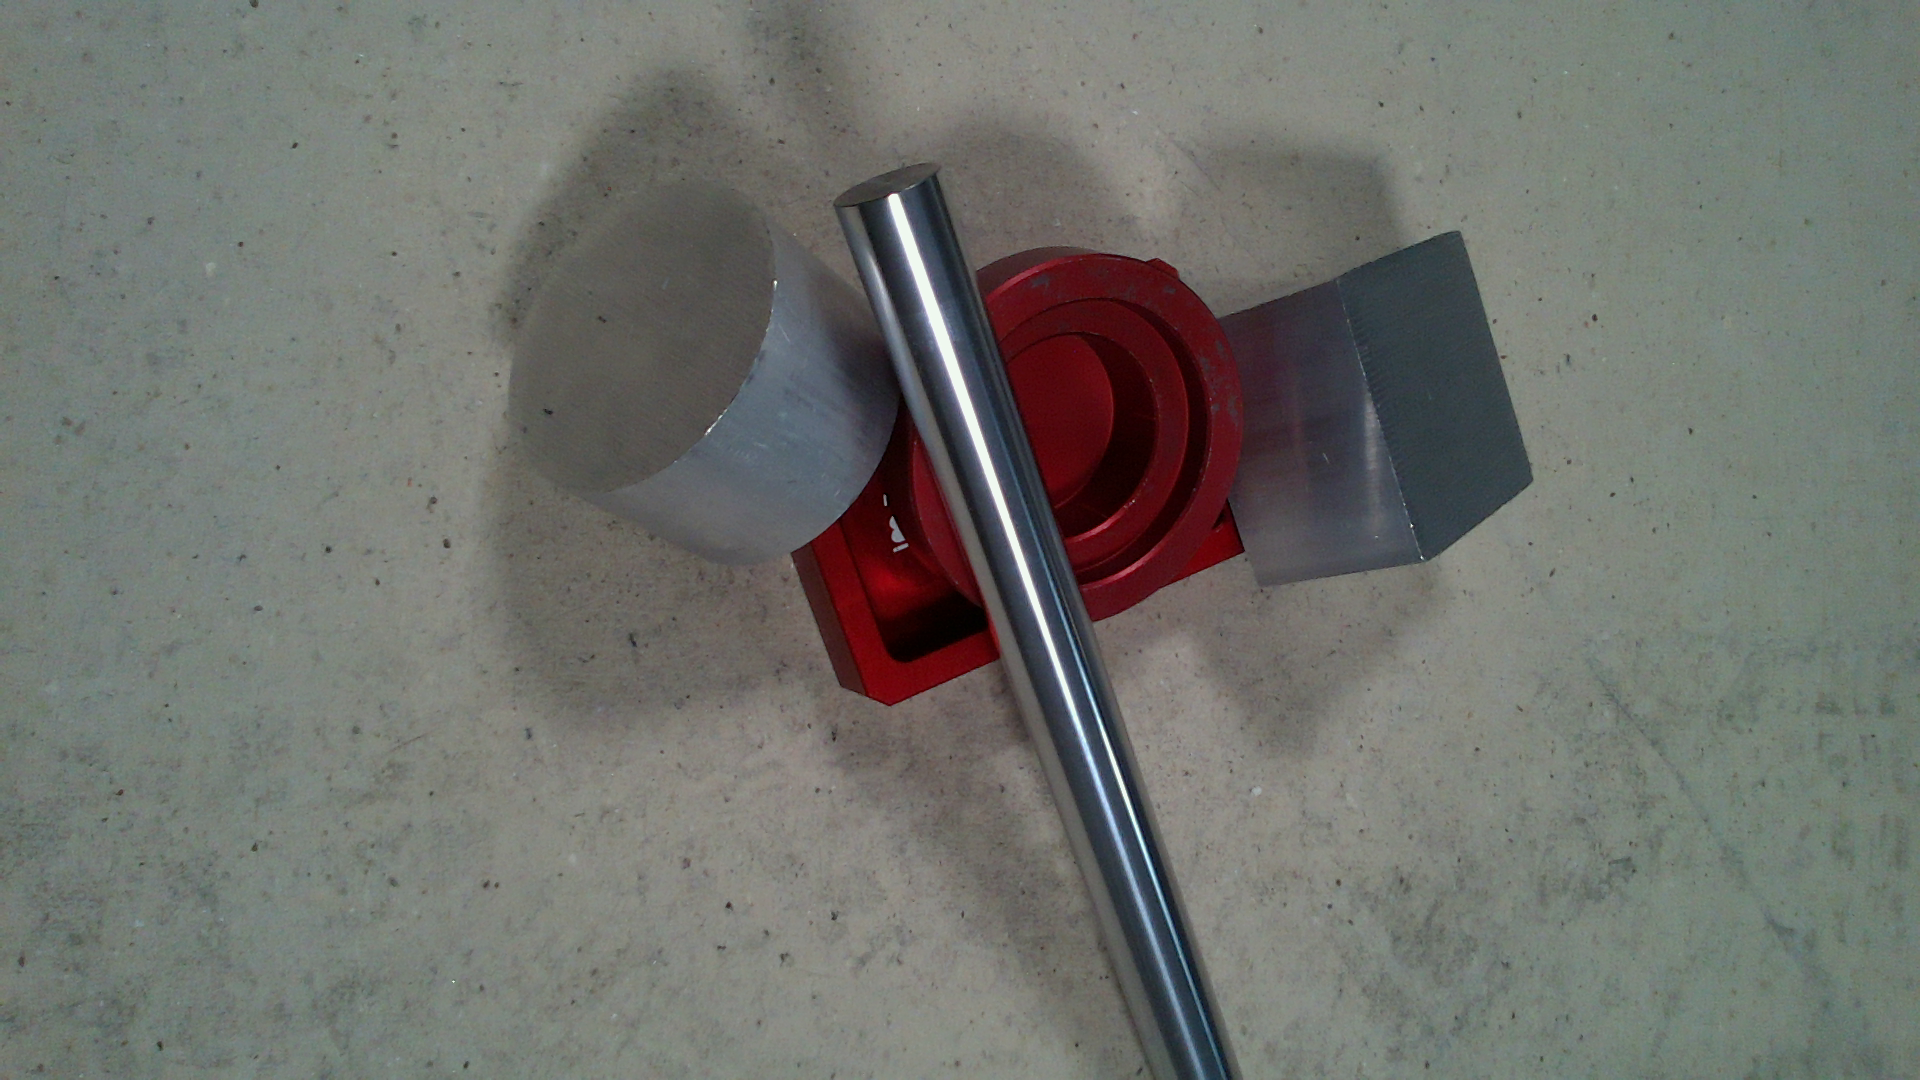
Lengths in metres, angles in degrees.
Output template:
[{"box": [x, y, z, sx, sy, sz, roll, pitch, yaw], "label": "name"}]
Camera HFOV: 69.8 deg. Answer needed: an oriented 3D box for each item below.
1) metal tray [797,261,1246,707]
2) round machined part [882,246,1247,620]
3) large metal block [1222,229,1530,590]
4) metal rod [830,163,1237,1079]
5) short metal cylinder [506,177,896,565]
[{"box": [0.014, -0.018, 0.396, 0.130, 0.030, 0.090, -22, 97, -19], "label": "metal tray"}, {"box": [0.024, -0.030, 0.368, 0.098, 0.042, 0.098, -7, 108, -22], "label": "round machined part"}, {"box": [0.118, -0.039, 0.405, 0.080, 0.050, 0.080, -26, 100, -44], "label": "large metal block"}, {"box": [0.031, 0.051, 0.358, 0.025, 0.025, 0.300, -29, 116, -17], "label": "metal rod"}, {"box": [-0.062, -0.039, 0.335, 0.050, 0.080, 0.080, 33, 77, -53], "label": "short metal cylinder"}]
